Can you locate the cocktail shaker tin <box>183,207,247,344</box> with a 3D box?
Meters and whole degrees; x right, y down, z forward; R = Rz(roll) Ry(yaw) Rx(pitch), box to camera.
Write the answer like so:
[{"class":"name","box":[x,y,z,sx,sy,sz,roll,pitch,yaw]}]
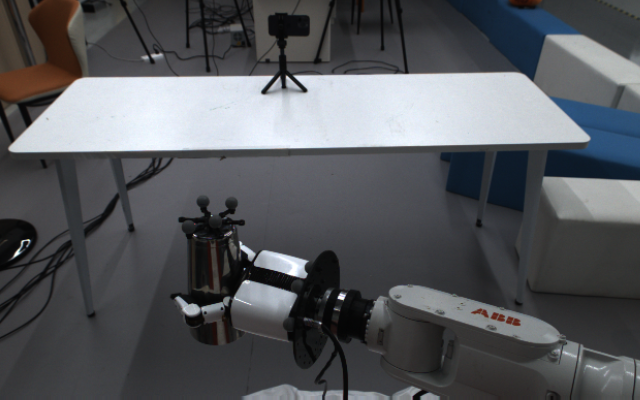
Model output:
[{"class":"cocktail shaker tin","box":[-0.146,0.111,0.690,0.093,0.170,0.093,2,28,-1]}]
